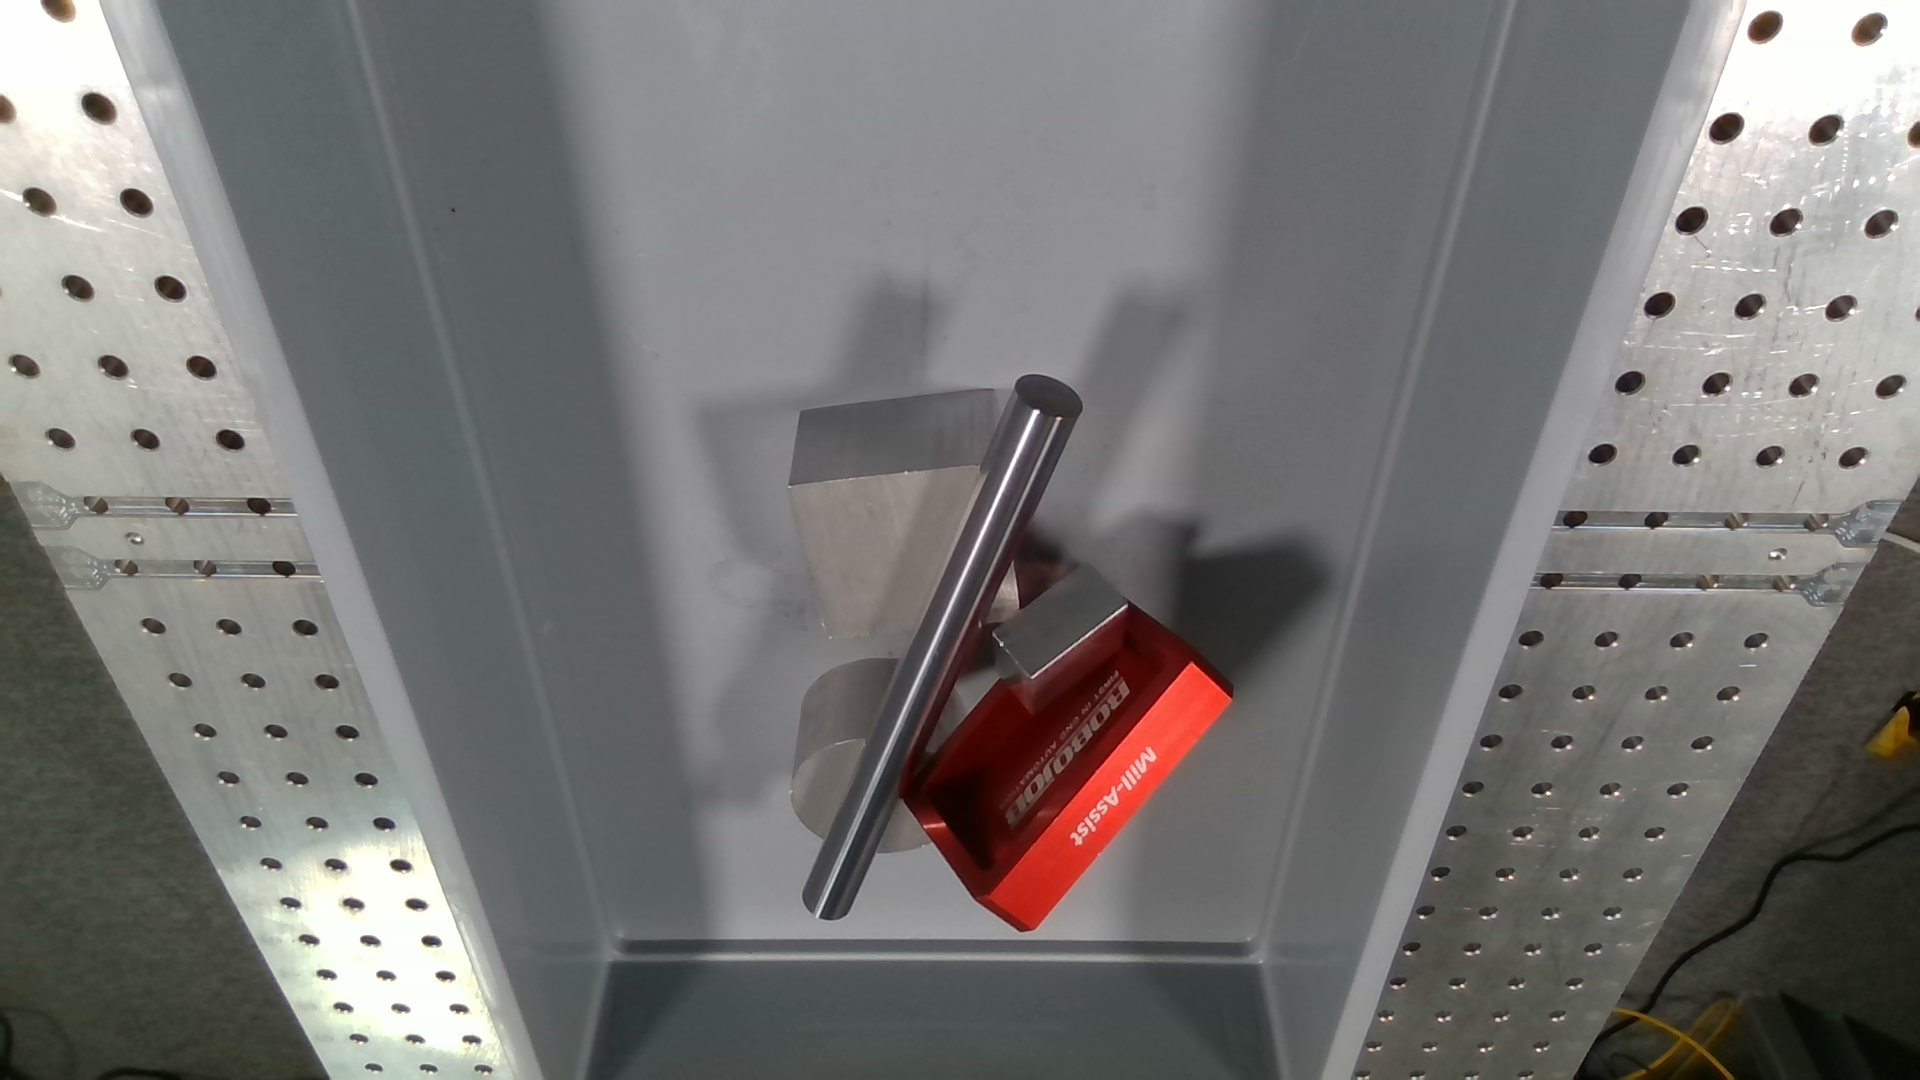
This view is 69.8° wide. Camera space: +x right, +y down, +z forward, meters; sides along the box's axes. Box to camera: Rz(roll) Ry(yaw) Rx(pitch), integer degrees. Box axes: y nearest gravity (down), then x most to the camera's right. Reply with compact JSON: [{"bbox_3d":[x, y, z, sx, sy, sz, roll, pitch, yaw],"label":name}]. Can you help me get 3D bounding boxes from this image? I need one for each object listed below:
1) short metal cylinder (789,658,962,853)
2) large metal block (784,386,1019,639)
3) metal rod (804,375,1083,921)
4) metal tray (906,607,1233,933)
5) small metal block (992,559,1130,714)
[{"bbox_3d":[-0.038,0.102,0.647,0.080,0.050,0.080,0,130,0],"label":"short metal cylinder"},{"bbox_3d":[-0.021,-0.010,0.554,0.080,0.050,0.080,-6,130,5],"label":"large metal block"},{"bbox_3d":[-0.016,0.061,0.562,0.025,0.025,0.301,14,129,-11],"label":"metal rod"},{"bbox_3d":[0.042,0.086,0.576,0.030,0.090,0.130,41,89,-30],"label":"metal tray"},{"bbox_3d":[0.041,0.041,0.569,0.050,0.025,0.050,-36,159,-12],"label":"small metal block"}]
